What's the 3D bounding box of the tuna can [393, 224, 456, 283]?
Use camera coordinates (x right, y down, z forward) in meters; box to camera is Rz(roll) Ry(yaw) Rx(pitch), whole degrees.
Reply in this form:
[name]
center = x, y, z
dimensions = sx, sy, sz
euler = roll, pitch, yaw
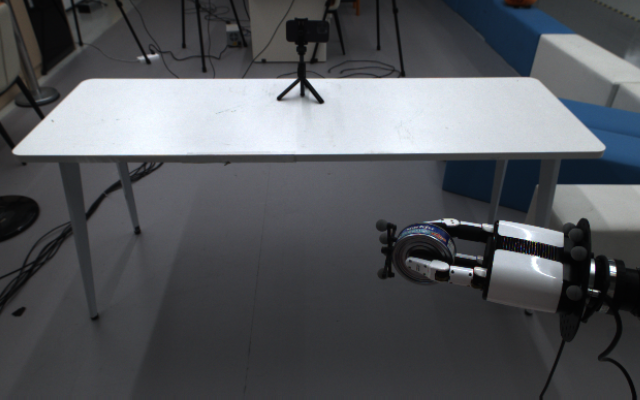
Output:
[tuna can]
center = 0.147, 0.072, 0.679
dimensions = 0.085, 0.085, 0.034
euler = 12, 27, 14
